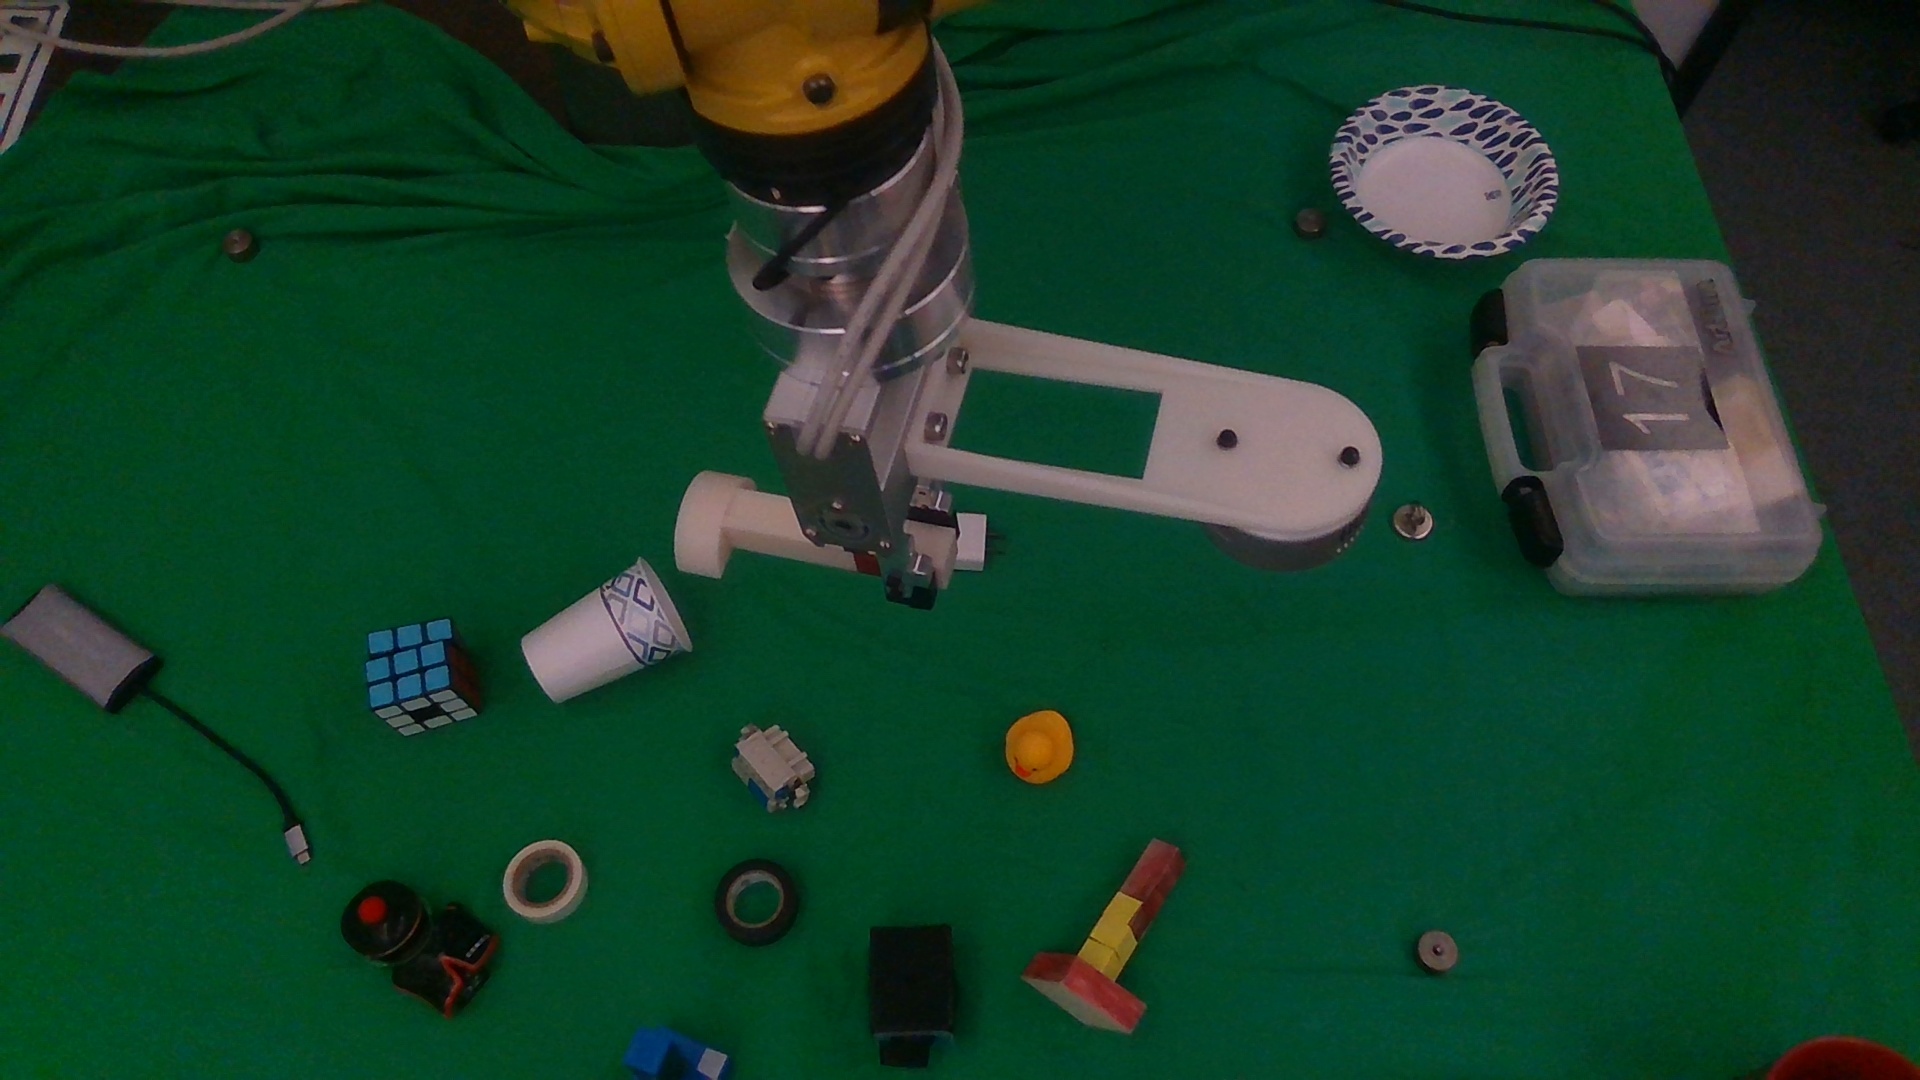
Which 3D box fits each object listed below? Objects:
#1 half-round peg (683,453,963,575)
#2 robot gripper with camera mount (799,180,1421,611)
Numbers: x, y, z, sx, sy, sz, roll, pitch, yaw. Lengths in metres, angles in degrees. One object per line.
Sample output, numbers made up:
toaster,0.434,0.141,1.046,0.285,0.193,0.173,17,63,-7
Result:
half-round peg,-0.059,-0.006,0.603,0.122,0.031,0.054,11,60,14
robot gripper with camera mount,0.064,-0.025,0.513,0.194,0.158,0.119,8,58,13
